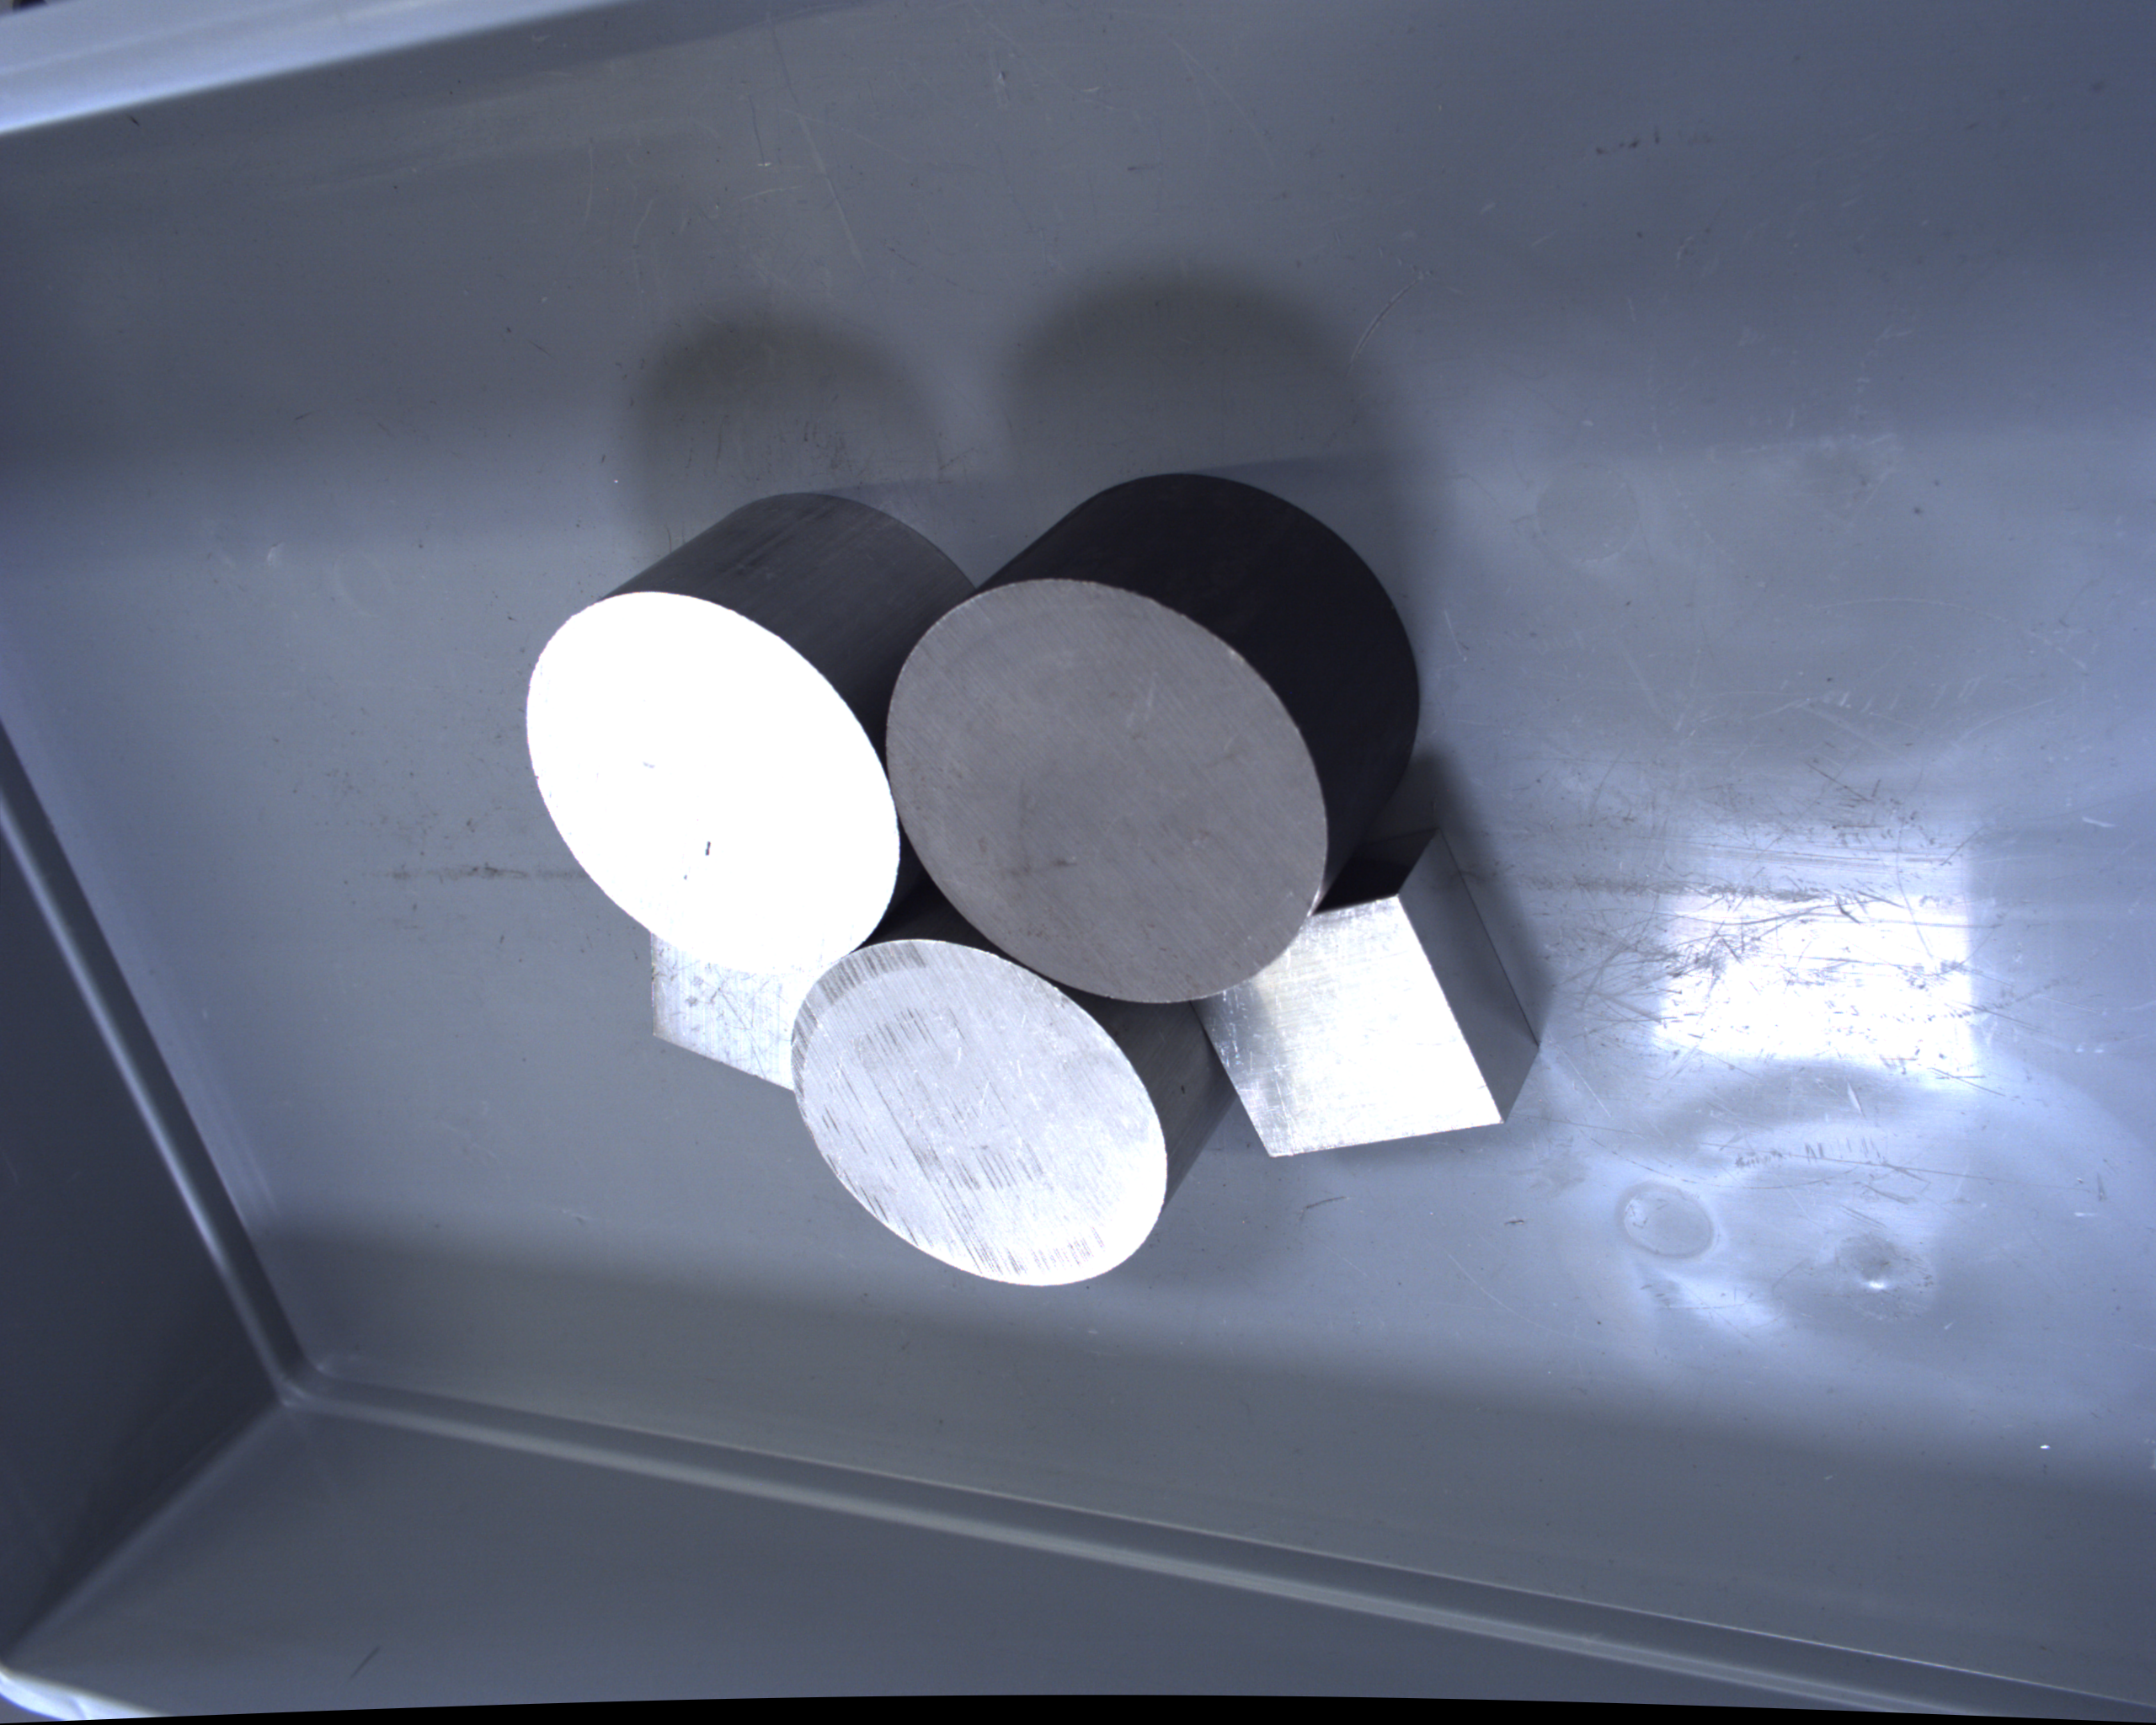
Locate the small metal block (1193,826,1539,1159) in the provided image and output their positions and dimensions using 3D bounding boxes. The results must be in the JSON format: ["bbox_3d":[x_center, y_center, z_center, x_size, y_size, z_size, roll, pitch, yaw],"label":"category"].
[{"bbox_3d":[0.052,0.026,0.395,0.050,0.025,0.050,-15,111,34],"label":"small metal block"}]

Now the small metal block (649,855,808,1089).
[{"bbox_3d":[-0.065,0.020,0.453,0.050,0.025,0.050,19,126,17],"label":"small metal block"}]

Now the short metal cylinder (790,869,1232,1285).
[{"bbox_3d":[-0.010,0.037,0.419,0.080,0.050,0.079,13,124,21],"label":"short metal cylinder"}]

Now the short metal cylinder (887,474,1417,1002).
[{"bbox_3d":[0.014,-0.022,0.369,0.080,0.050,0.079,13,124,21],"label":"short metal cylinder"}]

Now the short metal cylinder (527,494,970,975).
[{"bbox_3d":[-0.058,-0.025,0.405,0.080,0.050,0.079,13,124,21],"label":"short metal cylinder"}]
